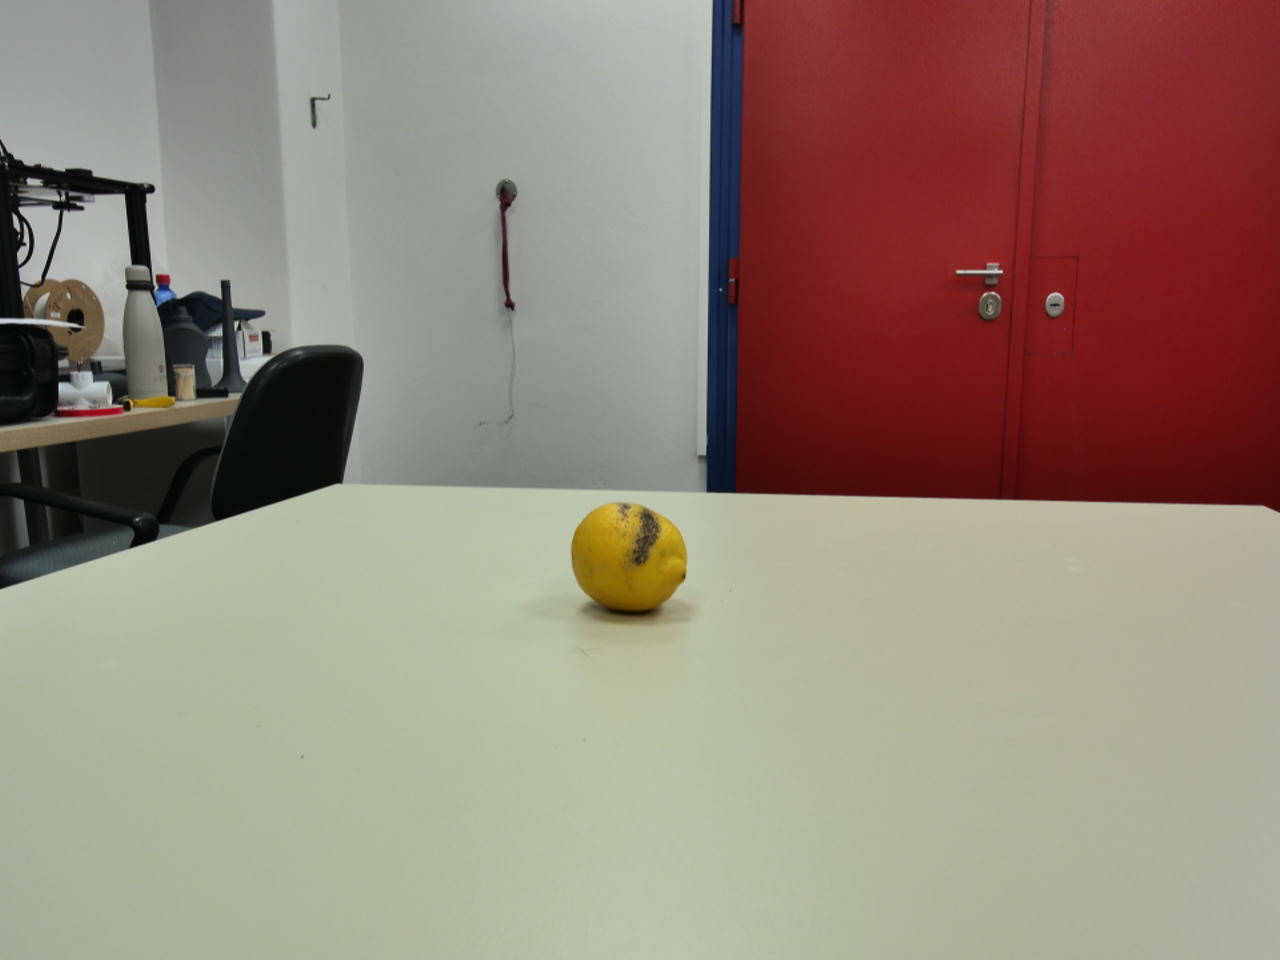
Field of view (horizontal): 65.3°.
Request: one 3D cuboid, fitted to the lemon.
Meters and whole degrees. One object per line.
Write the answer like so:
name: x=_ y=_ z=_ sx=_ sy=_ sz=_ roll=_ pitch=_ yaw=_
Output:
lemon: x=-0.005 y=0.040 z=0.526 sx=0.061 sy=0.056 sz=0.058 roll=2 pitch=6 yaw=4
